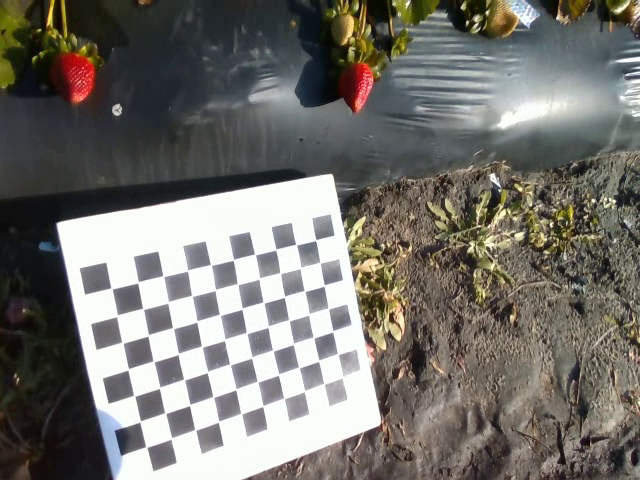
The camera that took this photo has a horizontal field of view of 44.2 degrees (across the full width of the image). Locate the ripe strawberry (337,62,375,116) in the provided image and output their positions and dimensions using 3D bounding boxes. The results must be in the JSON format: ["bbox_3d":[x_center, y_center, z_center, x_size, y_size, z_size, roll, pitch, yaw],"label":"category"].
[{"bbox_3d":[0.036,-0.146,0.750,0.042,0.058,0.042,14,-22,-34],"label":"ripe strawberry"}]

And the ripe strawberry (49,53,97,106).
[{"bbox_3d":[-0.205,-0.132,0.637,0.046,0.055,0.041,-3,-33,-36],"label":"ripe strawberry"}]
